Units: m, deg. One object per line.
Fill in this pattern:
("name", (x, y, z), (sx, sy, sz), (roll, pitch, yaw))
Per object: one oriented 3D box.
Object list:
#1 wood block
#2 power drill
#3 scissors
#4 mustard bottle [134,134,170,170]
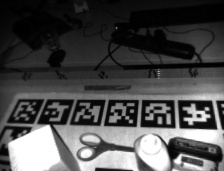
("wood block", (-0.133, 0.183, 0.491), (0.091, 0.208, 0.089), (-24, 51, -6))
("power drill", (0.137, 0.229, 0.482), (0.183, 0.058, 0.187), (10, 61, 20))
("scissors", (-0.027, 0.158, 0.602), (0.201, 0.016, 0.087), (1, 47, 12))
("mustard bottle", (0.087, 0.154, 0.478), (0.058, 0.193, 0.095), (-33, 53, -13))
